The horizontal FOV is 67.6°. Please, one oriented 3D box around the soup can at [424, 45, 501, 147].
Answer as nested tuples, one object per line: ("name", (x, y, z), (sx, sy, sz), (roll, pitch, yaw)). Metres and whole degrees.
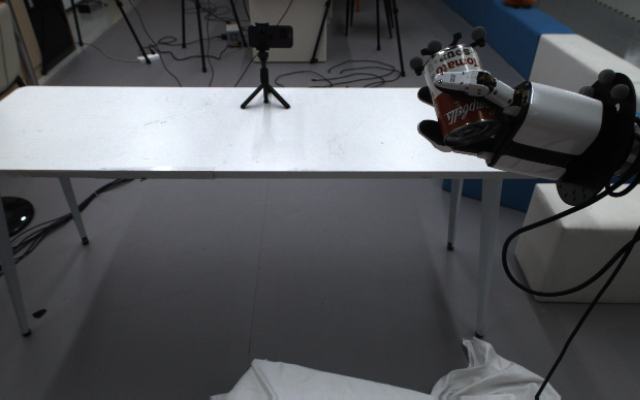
("soup can", (0.170, -0.125, 0.582), (0.067, 0.067, 0.101), (-8, 74, -14))
